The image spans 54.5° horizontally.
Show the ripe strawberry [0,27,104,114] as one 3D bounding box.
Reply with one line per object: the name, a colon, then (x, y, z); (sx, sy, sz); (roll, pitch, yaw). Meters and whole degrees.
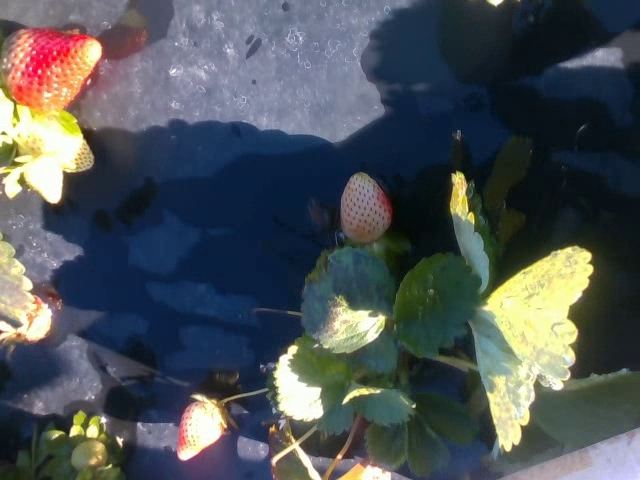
ripe strawberry: (-0.131, -0.090, 0.312); (0.064, 0.052, 0.050); (-17, -33, 24)
